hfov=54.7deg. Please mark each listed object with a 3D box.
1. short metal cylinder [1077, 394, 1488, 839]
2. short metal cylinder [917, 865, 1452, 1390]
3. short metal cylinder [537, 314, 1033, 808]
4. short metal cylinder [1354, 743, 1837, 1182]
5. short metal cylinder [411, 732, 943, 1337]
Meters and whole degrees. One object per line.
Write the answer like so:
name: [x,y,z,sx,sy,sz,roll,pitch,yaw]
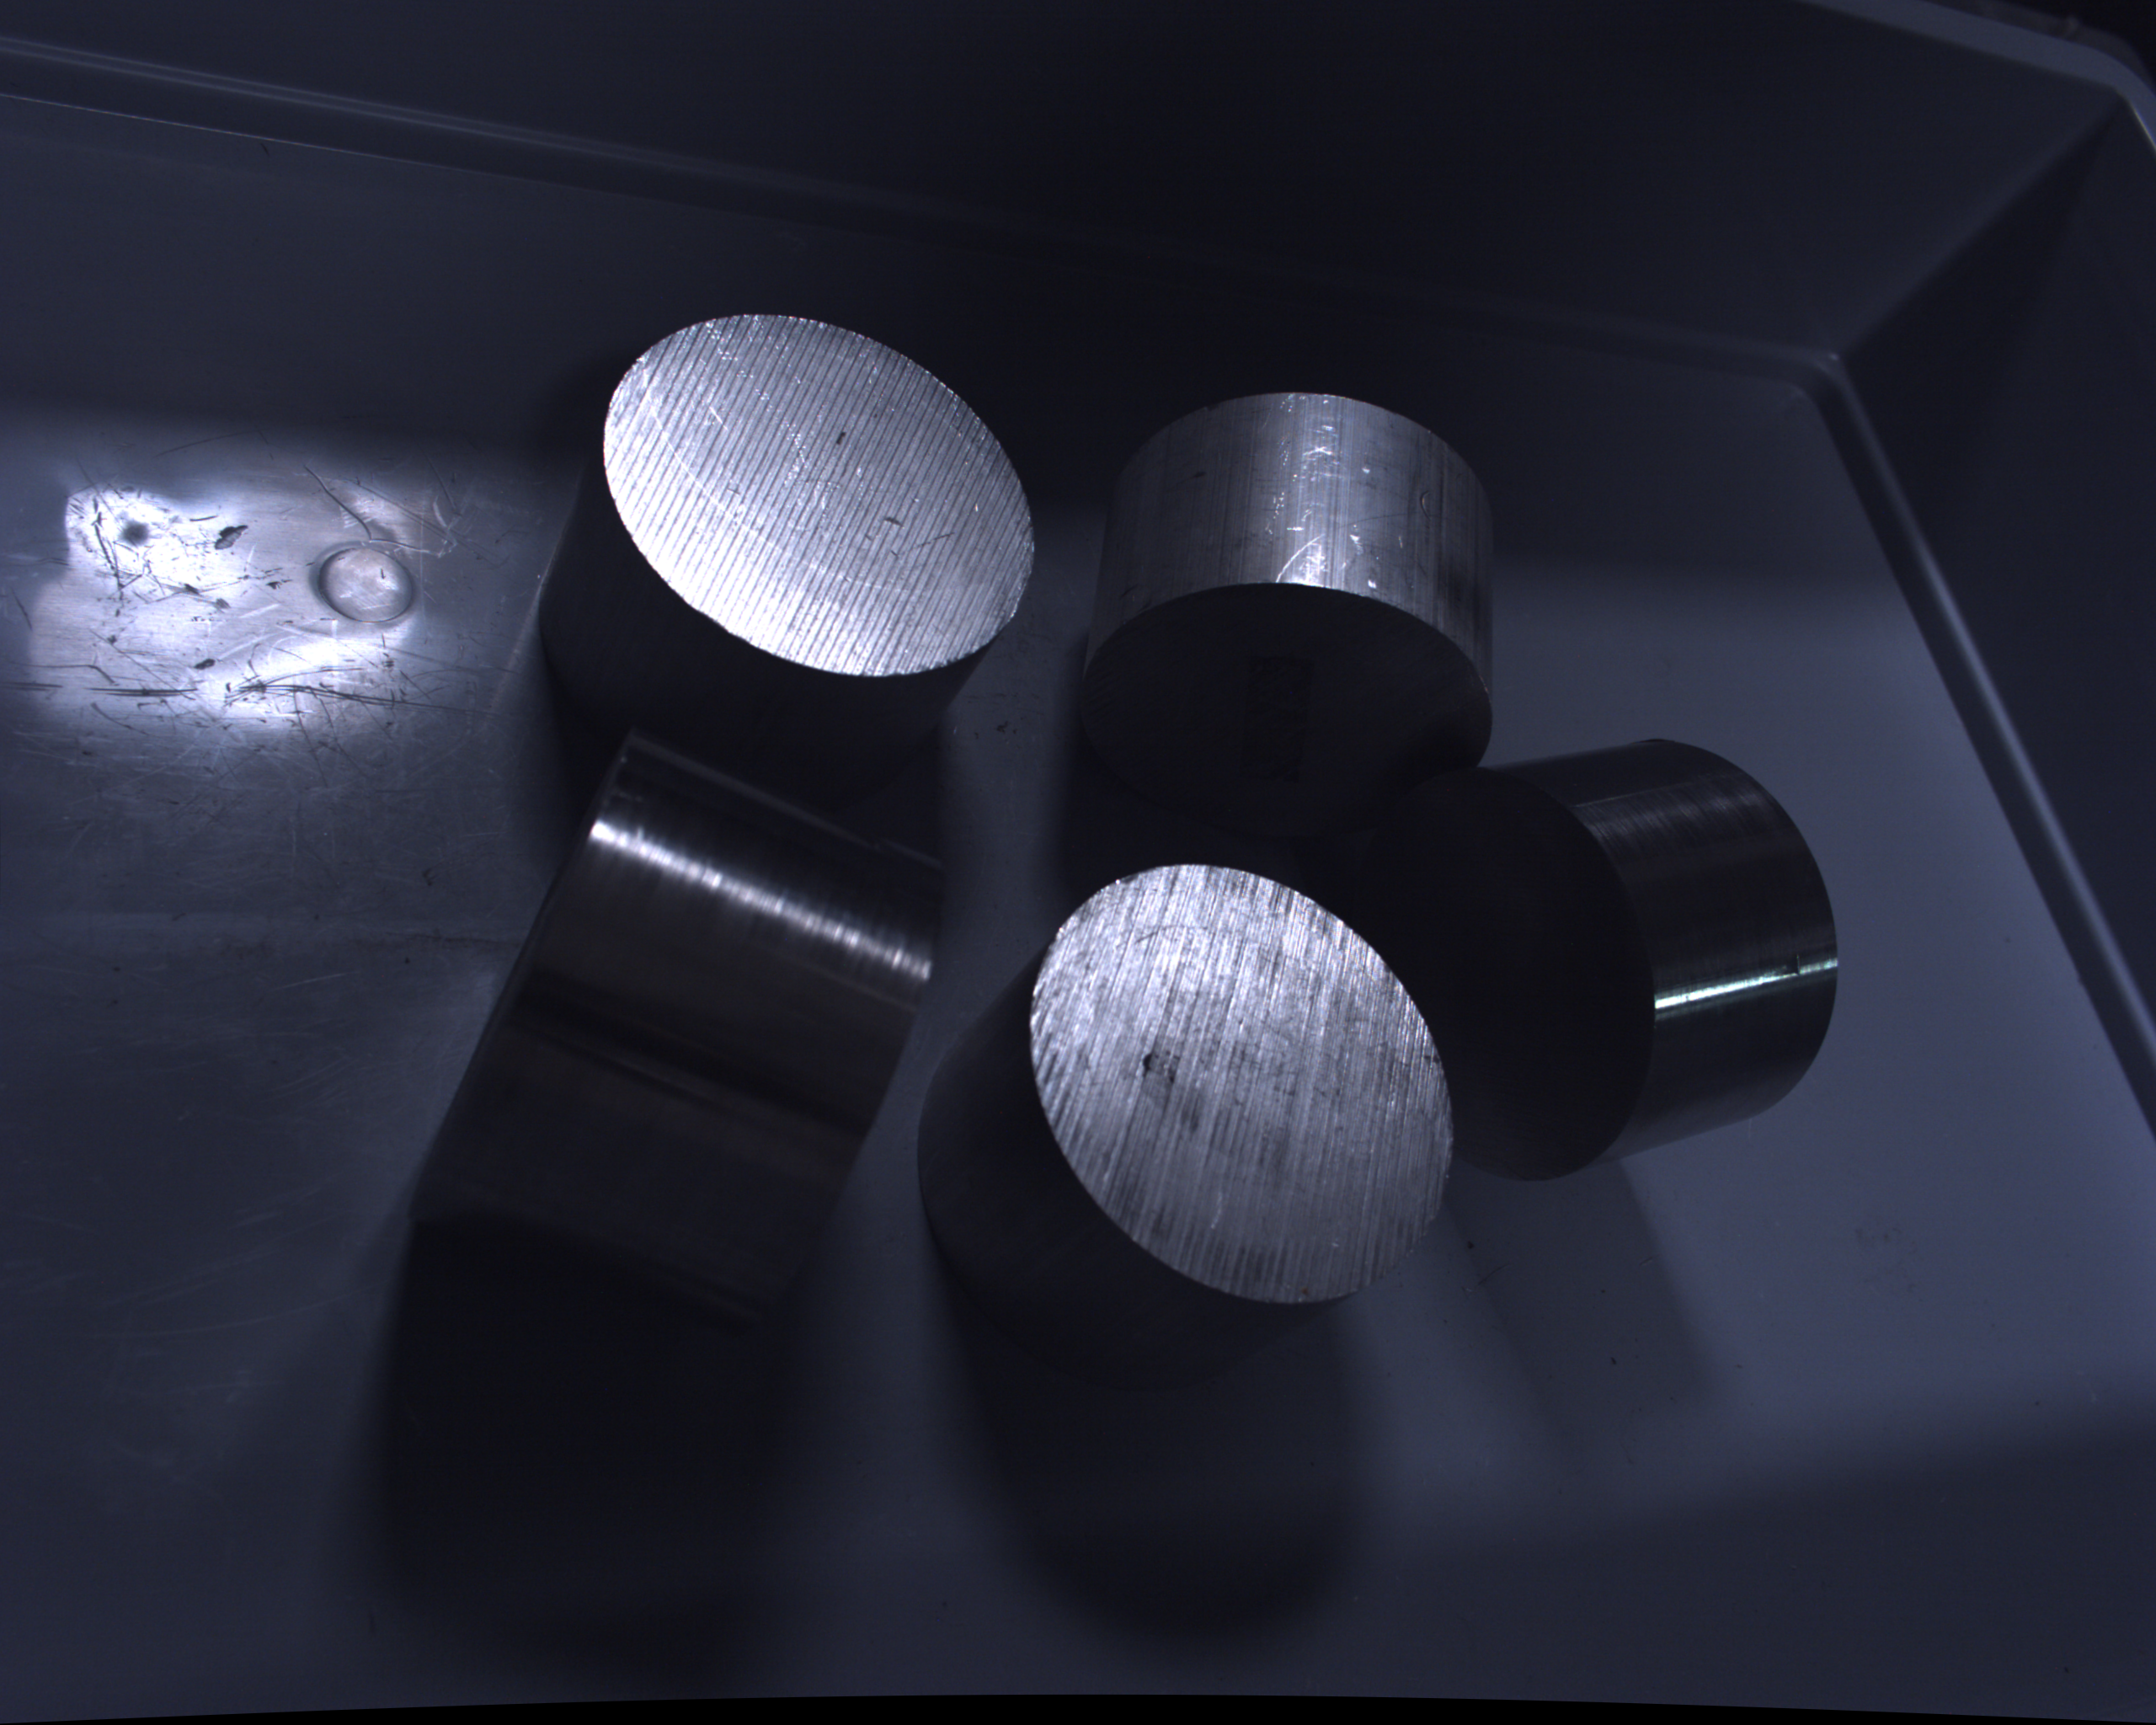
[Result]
short metal cylinder: [0.043,-0.048,0.424,0.080,0.080,0.050,20,54,-17]
short metal cylinder: [0.018,0.047,0.370,0.081,0.050,0.080,14,56,-21]
short metal cylinder: [-0.056,-0.055,0.392,0.081,0.050,0.080,14,56,-21]
short metal cylinder: [0.100,0.018,0.413,0.050,0.080,0.080,-9,67,-33]
short metal cylinder: [-0.061,0.026,0.320,0.050,0.080,0.080,24,53,-14]
